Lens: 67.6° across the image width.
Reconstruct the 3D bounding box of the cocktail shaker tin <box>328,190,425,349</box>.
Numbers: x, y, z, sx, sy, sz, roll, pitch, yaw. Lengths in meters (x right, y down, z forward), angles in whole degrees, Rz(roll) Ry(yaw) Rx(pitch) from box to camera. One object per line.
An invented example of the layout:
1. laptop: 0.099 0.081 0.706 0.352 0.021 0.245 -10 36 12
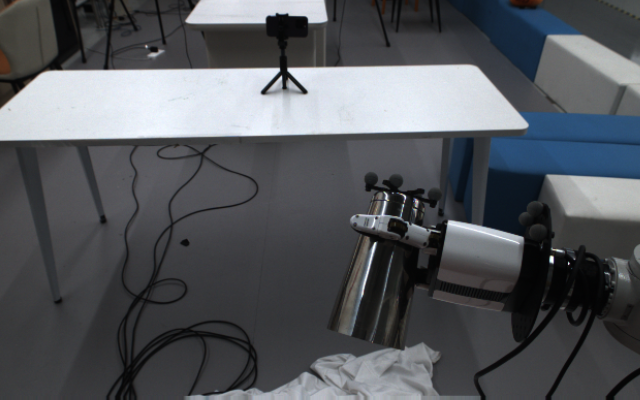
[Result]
1. cocktail shaker tin: 0.077 0.077 0.573 0.093 0.093 0.170 13 76 15
